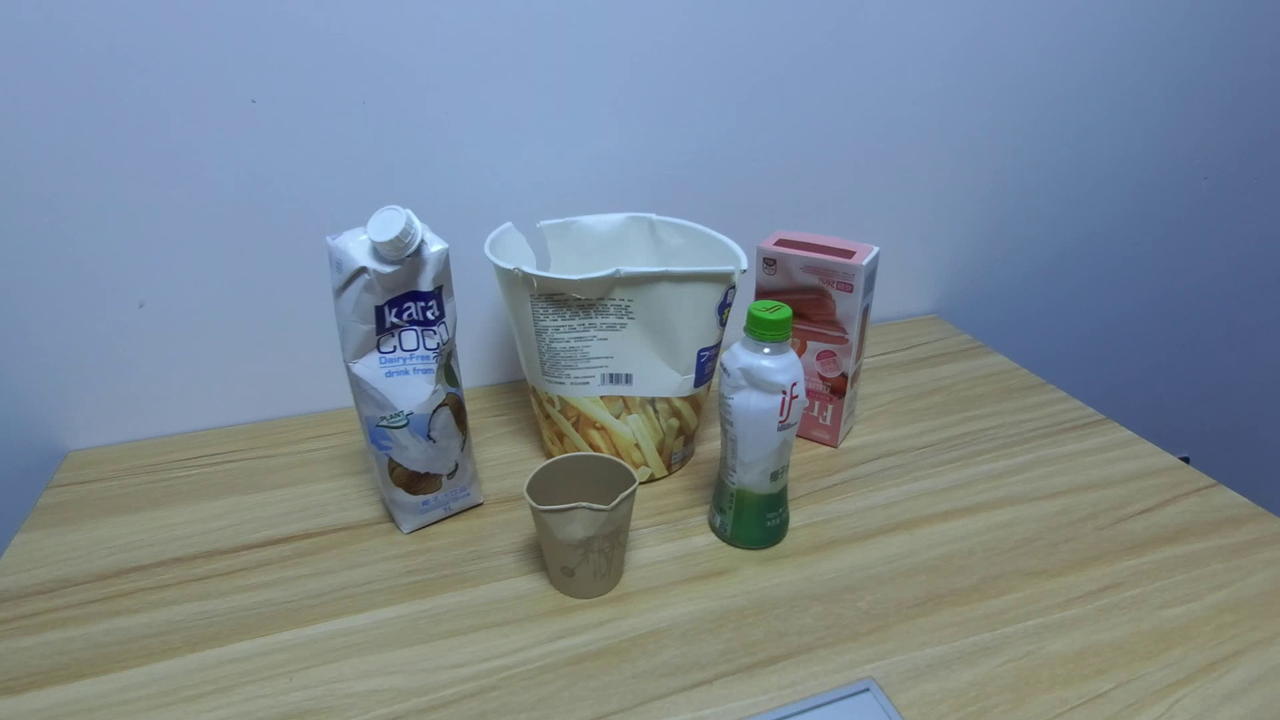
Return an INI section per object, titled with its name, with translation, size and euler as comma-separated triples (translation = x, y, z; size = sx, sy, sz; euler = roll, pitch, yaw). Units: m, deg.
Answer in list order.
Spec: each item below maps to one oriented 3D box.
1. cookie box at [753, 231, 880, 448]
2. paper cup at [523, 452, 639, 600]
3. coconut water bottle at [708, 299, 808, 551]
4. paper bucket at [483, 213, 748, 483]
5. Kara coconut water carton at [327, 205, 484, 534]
[cookie box]
translation = 0.149, -0.019, 0.645
size = 0.105, 0.188, 0.049
euler = 16, 33, 27
[paper cup]
translation = -0.041, 0.118, 0.500
size = 0.068, 0.081, 0.074
euler = 16, 31, 30
[coconut water bottle]
translation = 0.088, 0.048, 0.516
size = 0.069, 0.186, 0.069
euler = 1, 29, 0
[paper bucket]
translation = -0.023, -0.014, 0.623
size = 0.203, 0.197, 0.145
euler = -5, 28, -8
[Kara coconut water carton]
translation = -0.176, 0.006, 0.532
size = 0.083, 0.256, 0.078
euler = -11, 31, -20
